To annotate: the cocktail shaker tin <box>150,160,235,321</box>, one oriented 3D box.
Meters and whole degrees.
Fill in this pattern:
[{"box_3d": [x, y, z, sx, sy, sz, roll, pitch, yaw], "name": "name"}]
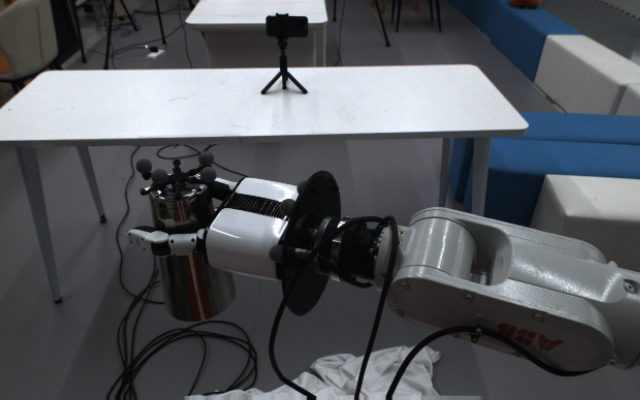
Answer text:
[{"box_3d": [-0.155, 0.053, 0.594, 0.093, 0.170, 0.093, -1, 32, 1], "name": "cocktail shaker tin"}]
